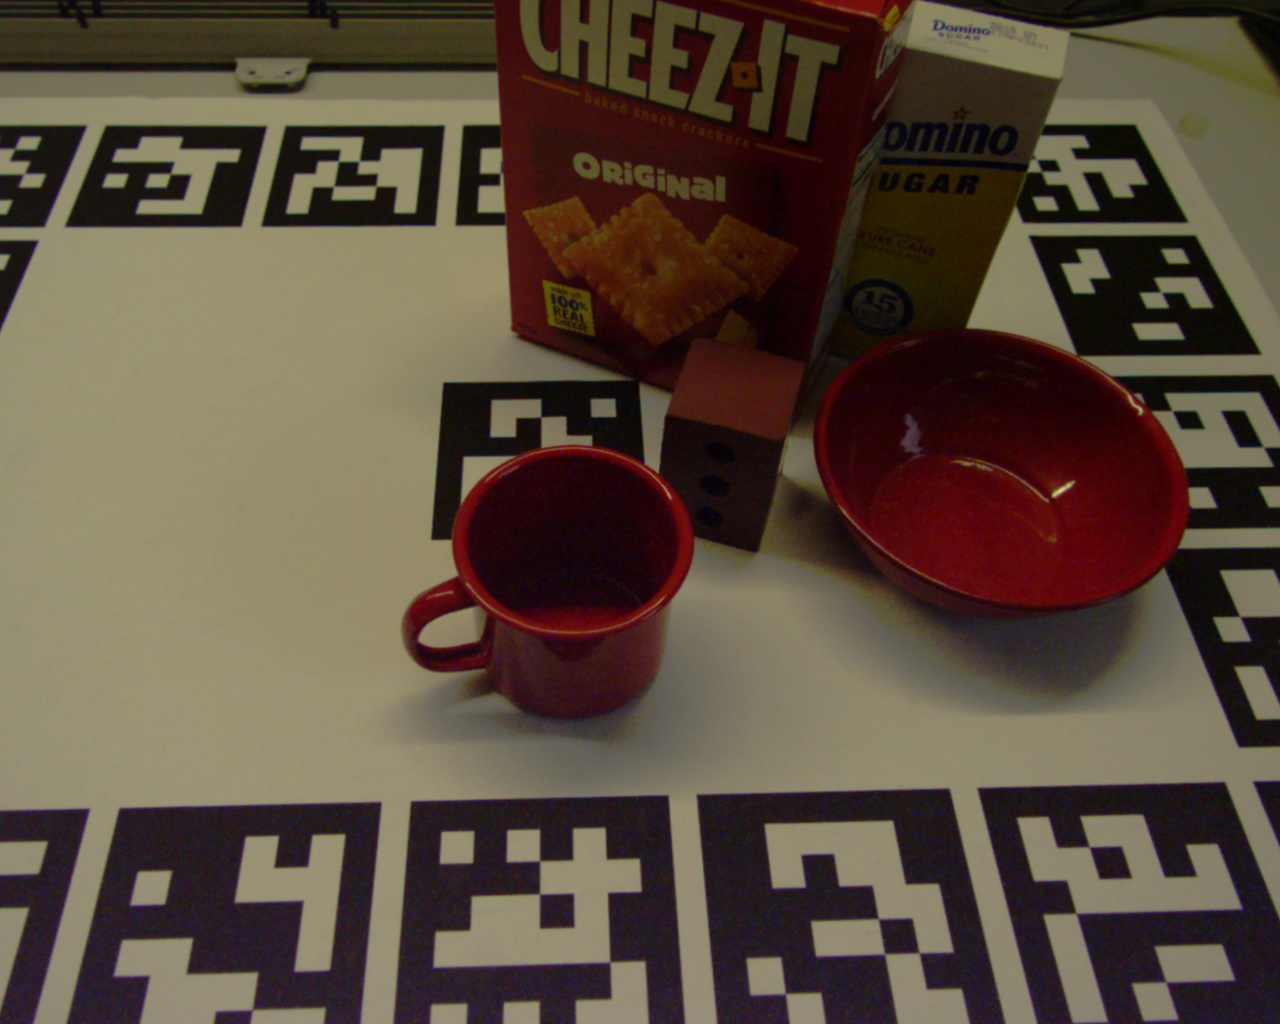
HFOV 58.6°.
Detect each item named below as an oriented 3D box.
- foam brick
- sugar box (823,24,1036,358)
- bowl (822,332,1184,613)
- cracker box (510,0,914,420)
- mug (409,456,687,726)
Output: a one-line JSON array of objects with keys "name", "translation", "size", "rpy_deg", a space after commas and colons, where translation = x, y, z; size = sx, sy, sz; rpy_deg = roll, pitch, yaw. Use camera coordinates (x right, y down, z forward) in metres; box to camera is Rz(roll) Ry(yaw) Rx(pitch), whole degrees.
[{"name": "foam brick", "translation": [0.038, -0.031, 0.552], "size": [0.053, 0.078, 0.051], "rpy_deg": [11, 52, 7]}, {"name": "sugar box", "translation": [0.129, -0.156, 0.584], "size": [0.093, 0.176, 0.045], "rpy_deg": [16, 53, 10]}, {"name": "bowl", "translation": [0.162, -0.010, 0.535], "size": [0.161, 0.055, 0.162], "rpy_deg": [1, 53, -2]}, {"name": "cracker box", "translation": [0.020, -0.154, 0.557], "size": [0.165, 0.213, 0.071], "rpy_deg": [24, 53, 14]}, {"name": "mug", "translation": [-0.039, 0.038, 0.483], "size": [0.117, 0.081, 0.094], "rpy_deg": [-9, 45, -7]}]
